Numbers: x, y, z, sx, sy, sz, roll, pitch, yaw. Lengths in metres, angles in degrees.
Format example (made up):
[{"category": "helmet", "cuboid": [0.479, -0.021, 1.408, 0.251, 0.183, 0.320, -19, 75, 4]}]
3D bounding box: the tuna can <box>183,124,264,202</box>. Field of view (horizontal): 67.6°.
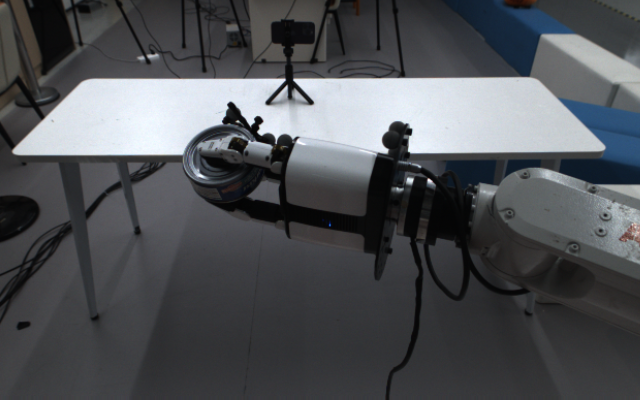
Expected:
[{"category": "tuna can", "cuboid": [-0.103, -0.042, 0.531, 0.085, 0.034, 0.085, -4, 57, 6]}]
